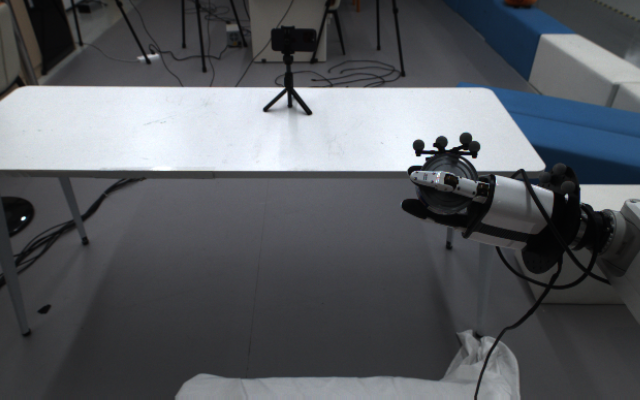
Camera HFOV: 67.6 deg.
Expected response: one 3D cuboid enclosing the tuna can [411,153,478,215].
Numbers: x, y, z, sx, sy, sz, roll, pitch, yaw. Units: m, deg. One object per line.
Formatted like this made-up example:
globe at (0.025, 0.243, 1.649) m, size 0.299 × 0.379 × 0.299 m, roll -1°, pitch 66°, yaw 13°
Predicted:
tuna can at (0.182, -0.024, 0.696) m, size 0.085 × 0.034 × 0.085 m, roll -1°, pitch 75°, yaw 4°
